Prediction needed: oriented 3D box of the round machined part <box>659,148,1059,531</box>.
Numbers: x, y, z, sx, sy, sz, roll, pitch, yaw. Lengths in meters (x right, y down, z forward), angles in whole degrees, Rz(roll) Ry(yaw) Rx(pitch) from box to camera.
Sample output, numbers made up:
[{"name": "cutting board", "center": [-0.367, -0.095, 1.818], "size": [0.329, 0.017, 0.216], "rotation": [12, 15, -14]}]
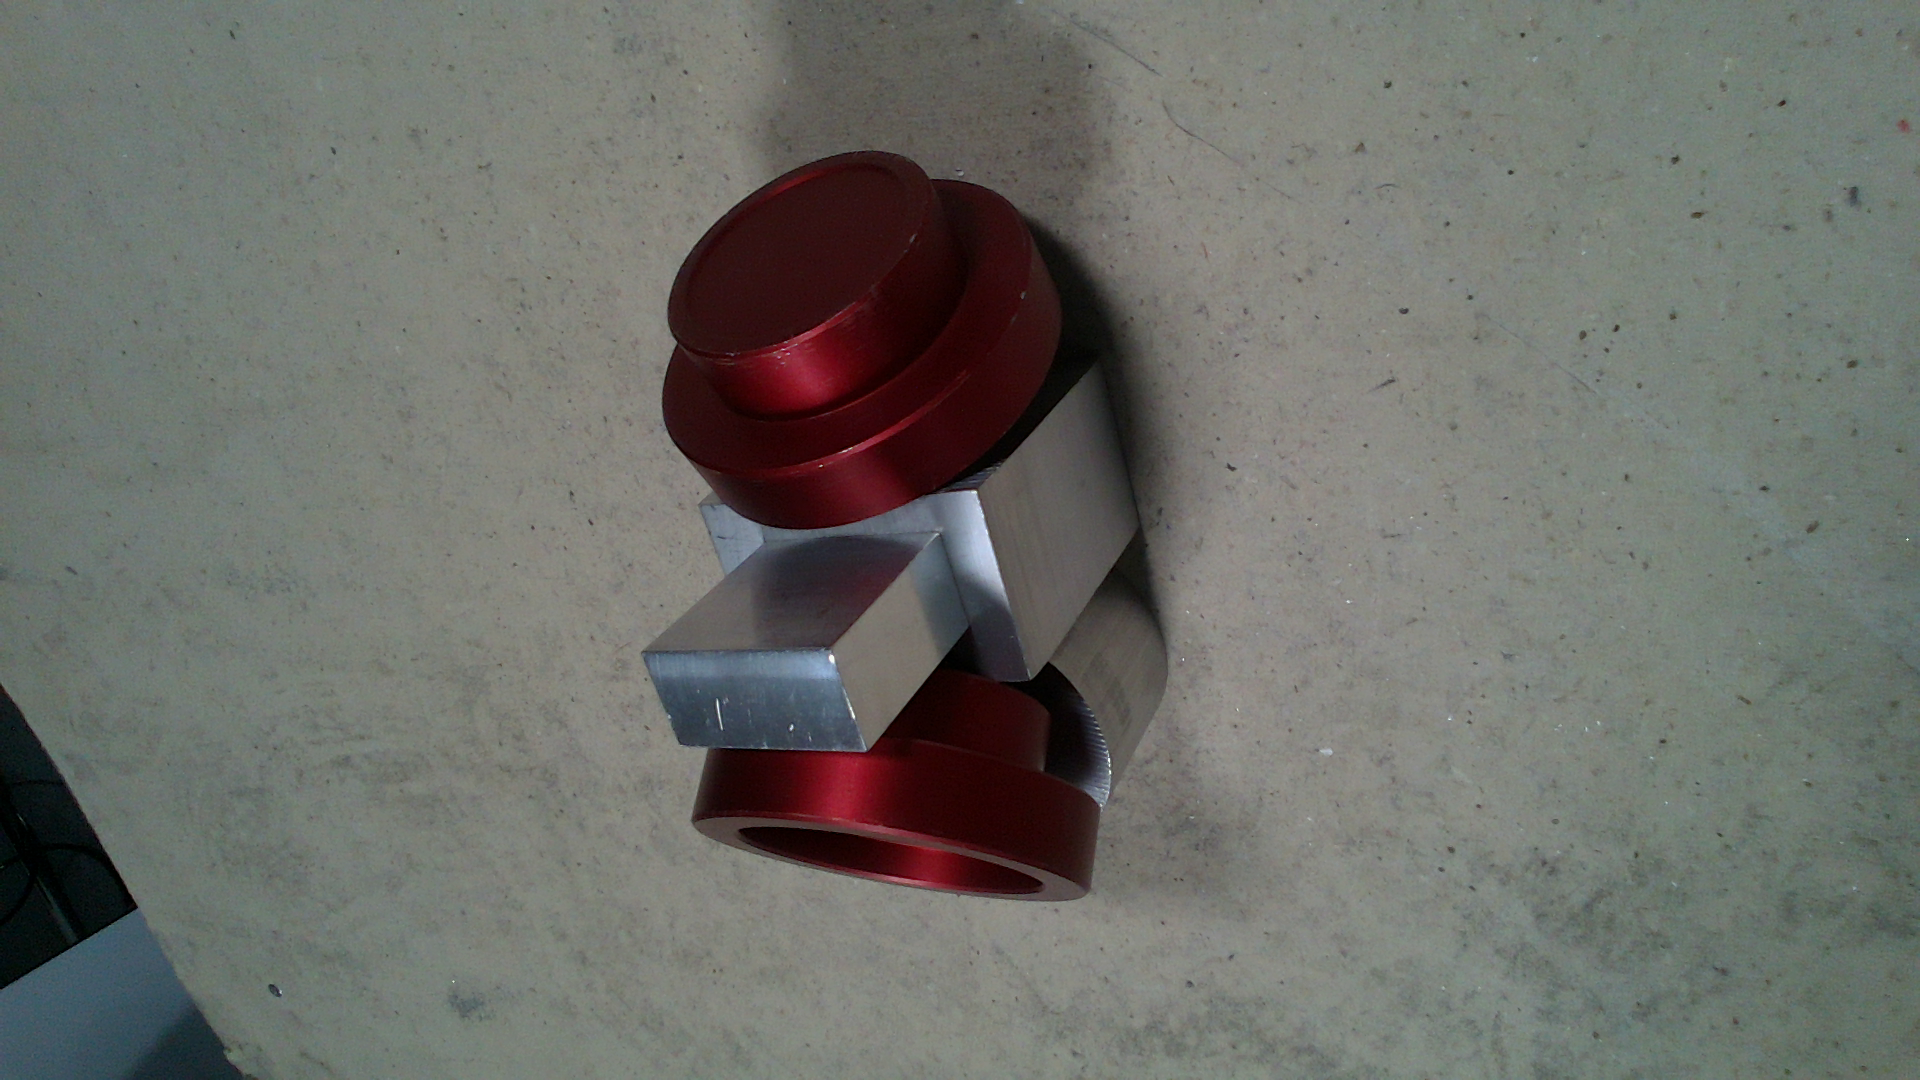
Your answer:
[{"name": "round machined part", "center": [-0.030, -0.053, 0.324], "size": [0.098, 0.098, 0.042], "rotation": [-2, 142, 29]}]

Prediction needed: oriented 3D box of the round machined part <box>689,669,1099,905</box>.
[{"name": "round machined part", "center": [-0.014, 0.059, 0.341], "size": [0.098, 0.042, 0.098], "rotation": [9, 159, 4]}]

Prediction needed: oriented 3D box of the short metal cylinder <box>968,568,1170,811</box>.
[{"name": "short metal cylinder", "center": [0.014, 0.043, 0.397], "size": [0.080, 0.050, 0.080], "rotation": [13, 124, 21]}]

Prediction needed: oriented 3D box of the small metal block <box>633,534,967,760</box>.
[{"name": "small metal block", "center": [-0.034, 0.023, 0.305], "size": [0.050, 0.050, 0.025], "rotation": [-3, 117, 30]}]

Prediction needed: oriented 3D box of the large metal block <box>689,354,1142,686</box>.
[{"name": "large metal block", "center": [-0.008, -0.006, 0.357], "size": [0.080, 0.080, 0.050], "rotation": [-2, 117, 29]}]
